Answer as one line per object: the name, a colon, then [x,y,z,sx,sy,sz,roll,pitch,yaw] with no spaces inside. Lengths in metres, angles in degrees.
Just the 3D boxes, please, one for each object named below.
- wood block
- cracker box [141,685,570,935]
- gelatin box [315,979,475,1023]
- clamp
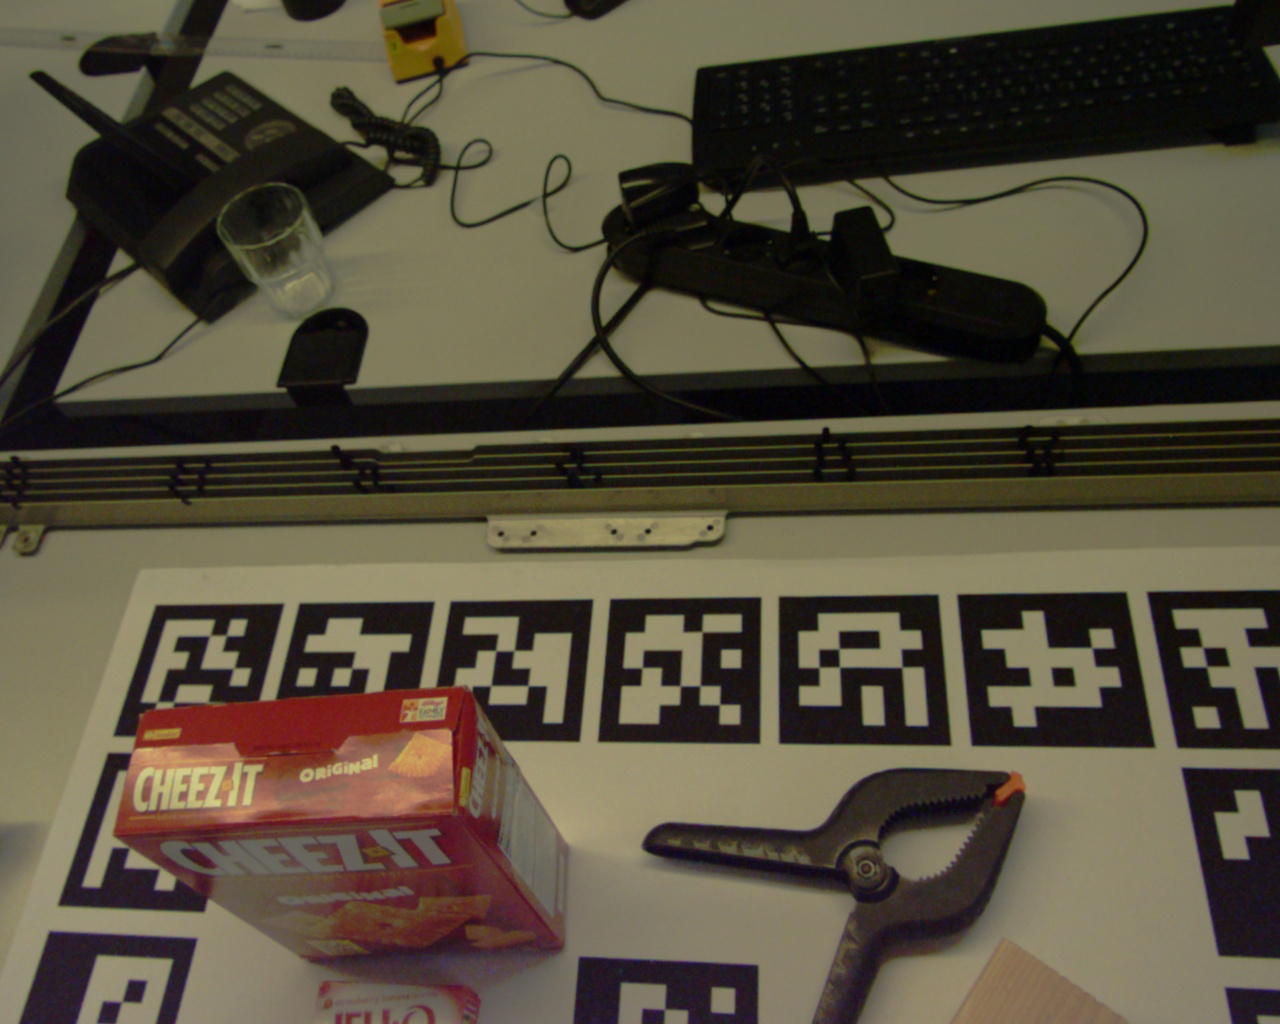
wood block: [0.137,0.325,0.540,0.091,0.090,0.205,31,67,29]
cracker box: [-0.138,0.170,0.614,0.165,0.212,0.072,-4,57,7]
gelatin box: [-0.143,0.307,0.647,0.090,0.030,0.073,-3,60,11]
clamp: [0.114,0.209,0.644,0.202,0.036,0.167,-28,58,-5]
